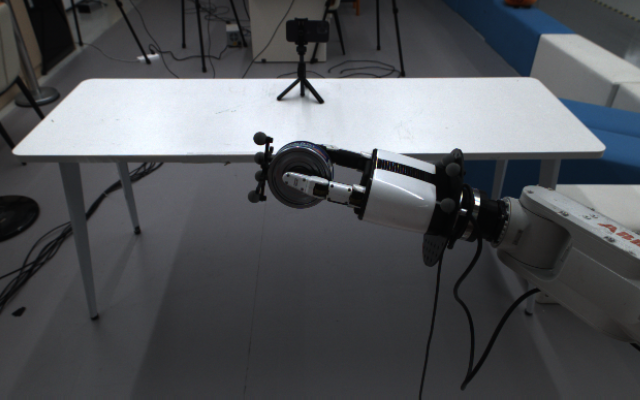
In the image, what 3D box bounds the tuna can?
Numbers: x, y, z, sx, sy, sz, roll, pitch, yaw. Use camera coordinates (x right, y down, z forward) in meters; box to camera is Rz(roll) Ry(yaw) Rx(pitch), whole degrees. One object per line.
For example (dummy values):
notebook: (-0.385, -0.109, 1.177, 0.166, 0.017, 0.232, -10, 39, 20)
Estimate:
tuna can: (-0.022, -0.033, 0.638, 0.085, 0.085, 0.034, 4, 18, 3)
